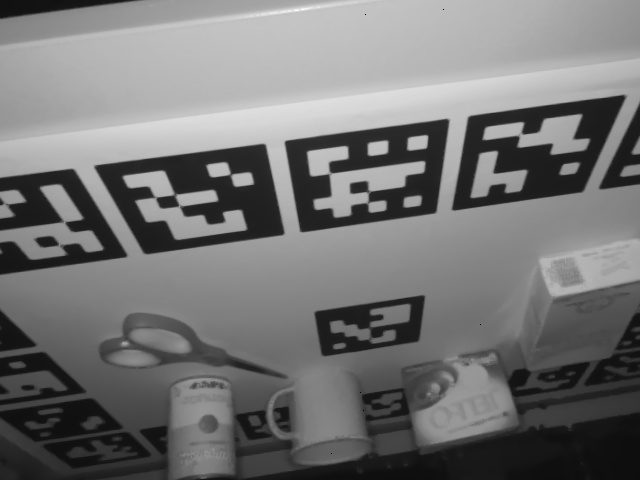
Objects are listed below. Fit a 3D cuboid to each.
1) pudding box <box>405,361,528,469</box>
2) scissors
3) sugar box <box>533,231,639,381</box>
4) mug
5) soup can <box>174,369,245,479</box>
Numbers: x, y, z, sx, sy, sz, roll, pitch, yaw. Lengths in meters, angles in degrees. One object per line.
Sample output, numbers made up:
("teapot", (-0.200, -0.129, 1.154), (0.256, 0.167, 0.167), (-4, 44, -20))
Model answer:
("pudding box", (0.154, 0.186, 0.736), (0.113, 0.090, 0.038), (-13, 134, 6))
("scissors", (-0.100, 0.103, 0.647), (0.205, 0.016, 0.086), (29, 118, -36))
("sugar box", (0.261, 0.068, 0.662), (0.093, 0.045, 0.175), (-11, 139, 0))
("mug", (0.005, 0.199, 0.735), (0.092, 0.082, 0.118), (-34, 136, 24))
("soup can", (-0.112, 0.191, 0.698), (0.068, 0.102, 0.067), (-6, 142, -4))
